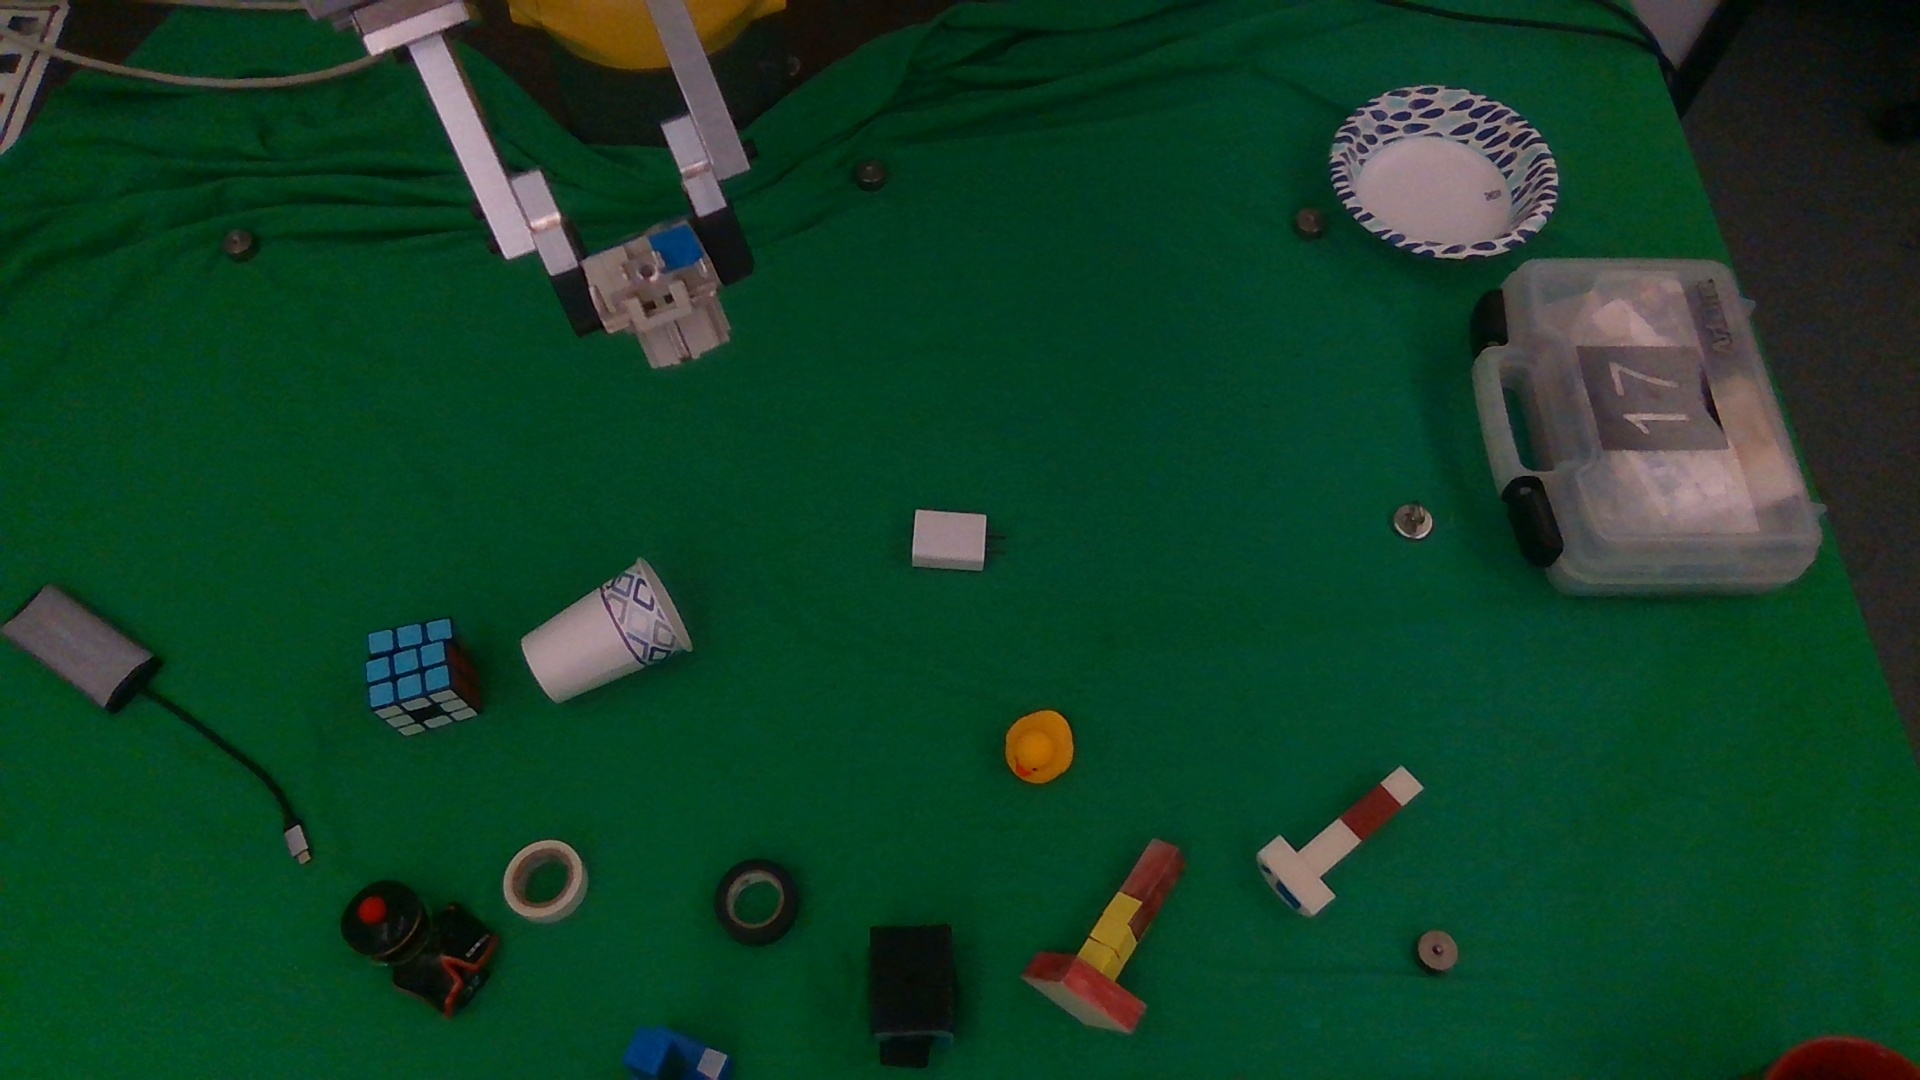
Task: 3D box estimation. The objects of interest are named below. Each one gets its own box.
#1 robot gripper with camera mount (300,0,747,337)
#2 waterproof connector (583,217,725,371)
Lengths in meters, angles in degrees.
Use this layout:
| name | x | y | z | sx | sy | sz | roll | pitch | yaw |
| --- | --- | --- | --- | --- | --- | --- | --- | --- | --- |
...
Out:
| name | x | y | z | sx | sy | sz | roll | pitch | yaw |
| --- | --- | --- | --- | --- | --- | --- | --- | --- | --- |
| robot gripper with camera mount | -0.097 | -0.118 | 0.306 | 0.119 | 0.193 | 0.158 | -21 | 107 | -2 |
| waterproof connector | -0.088 | -0.072 | 0.408 | 0.035 | 0.065 | 0.037 | -20 | 108 | -6 |
